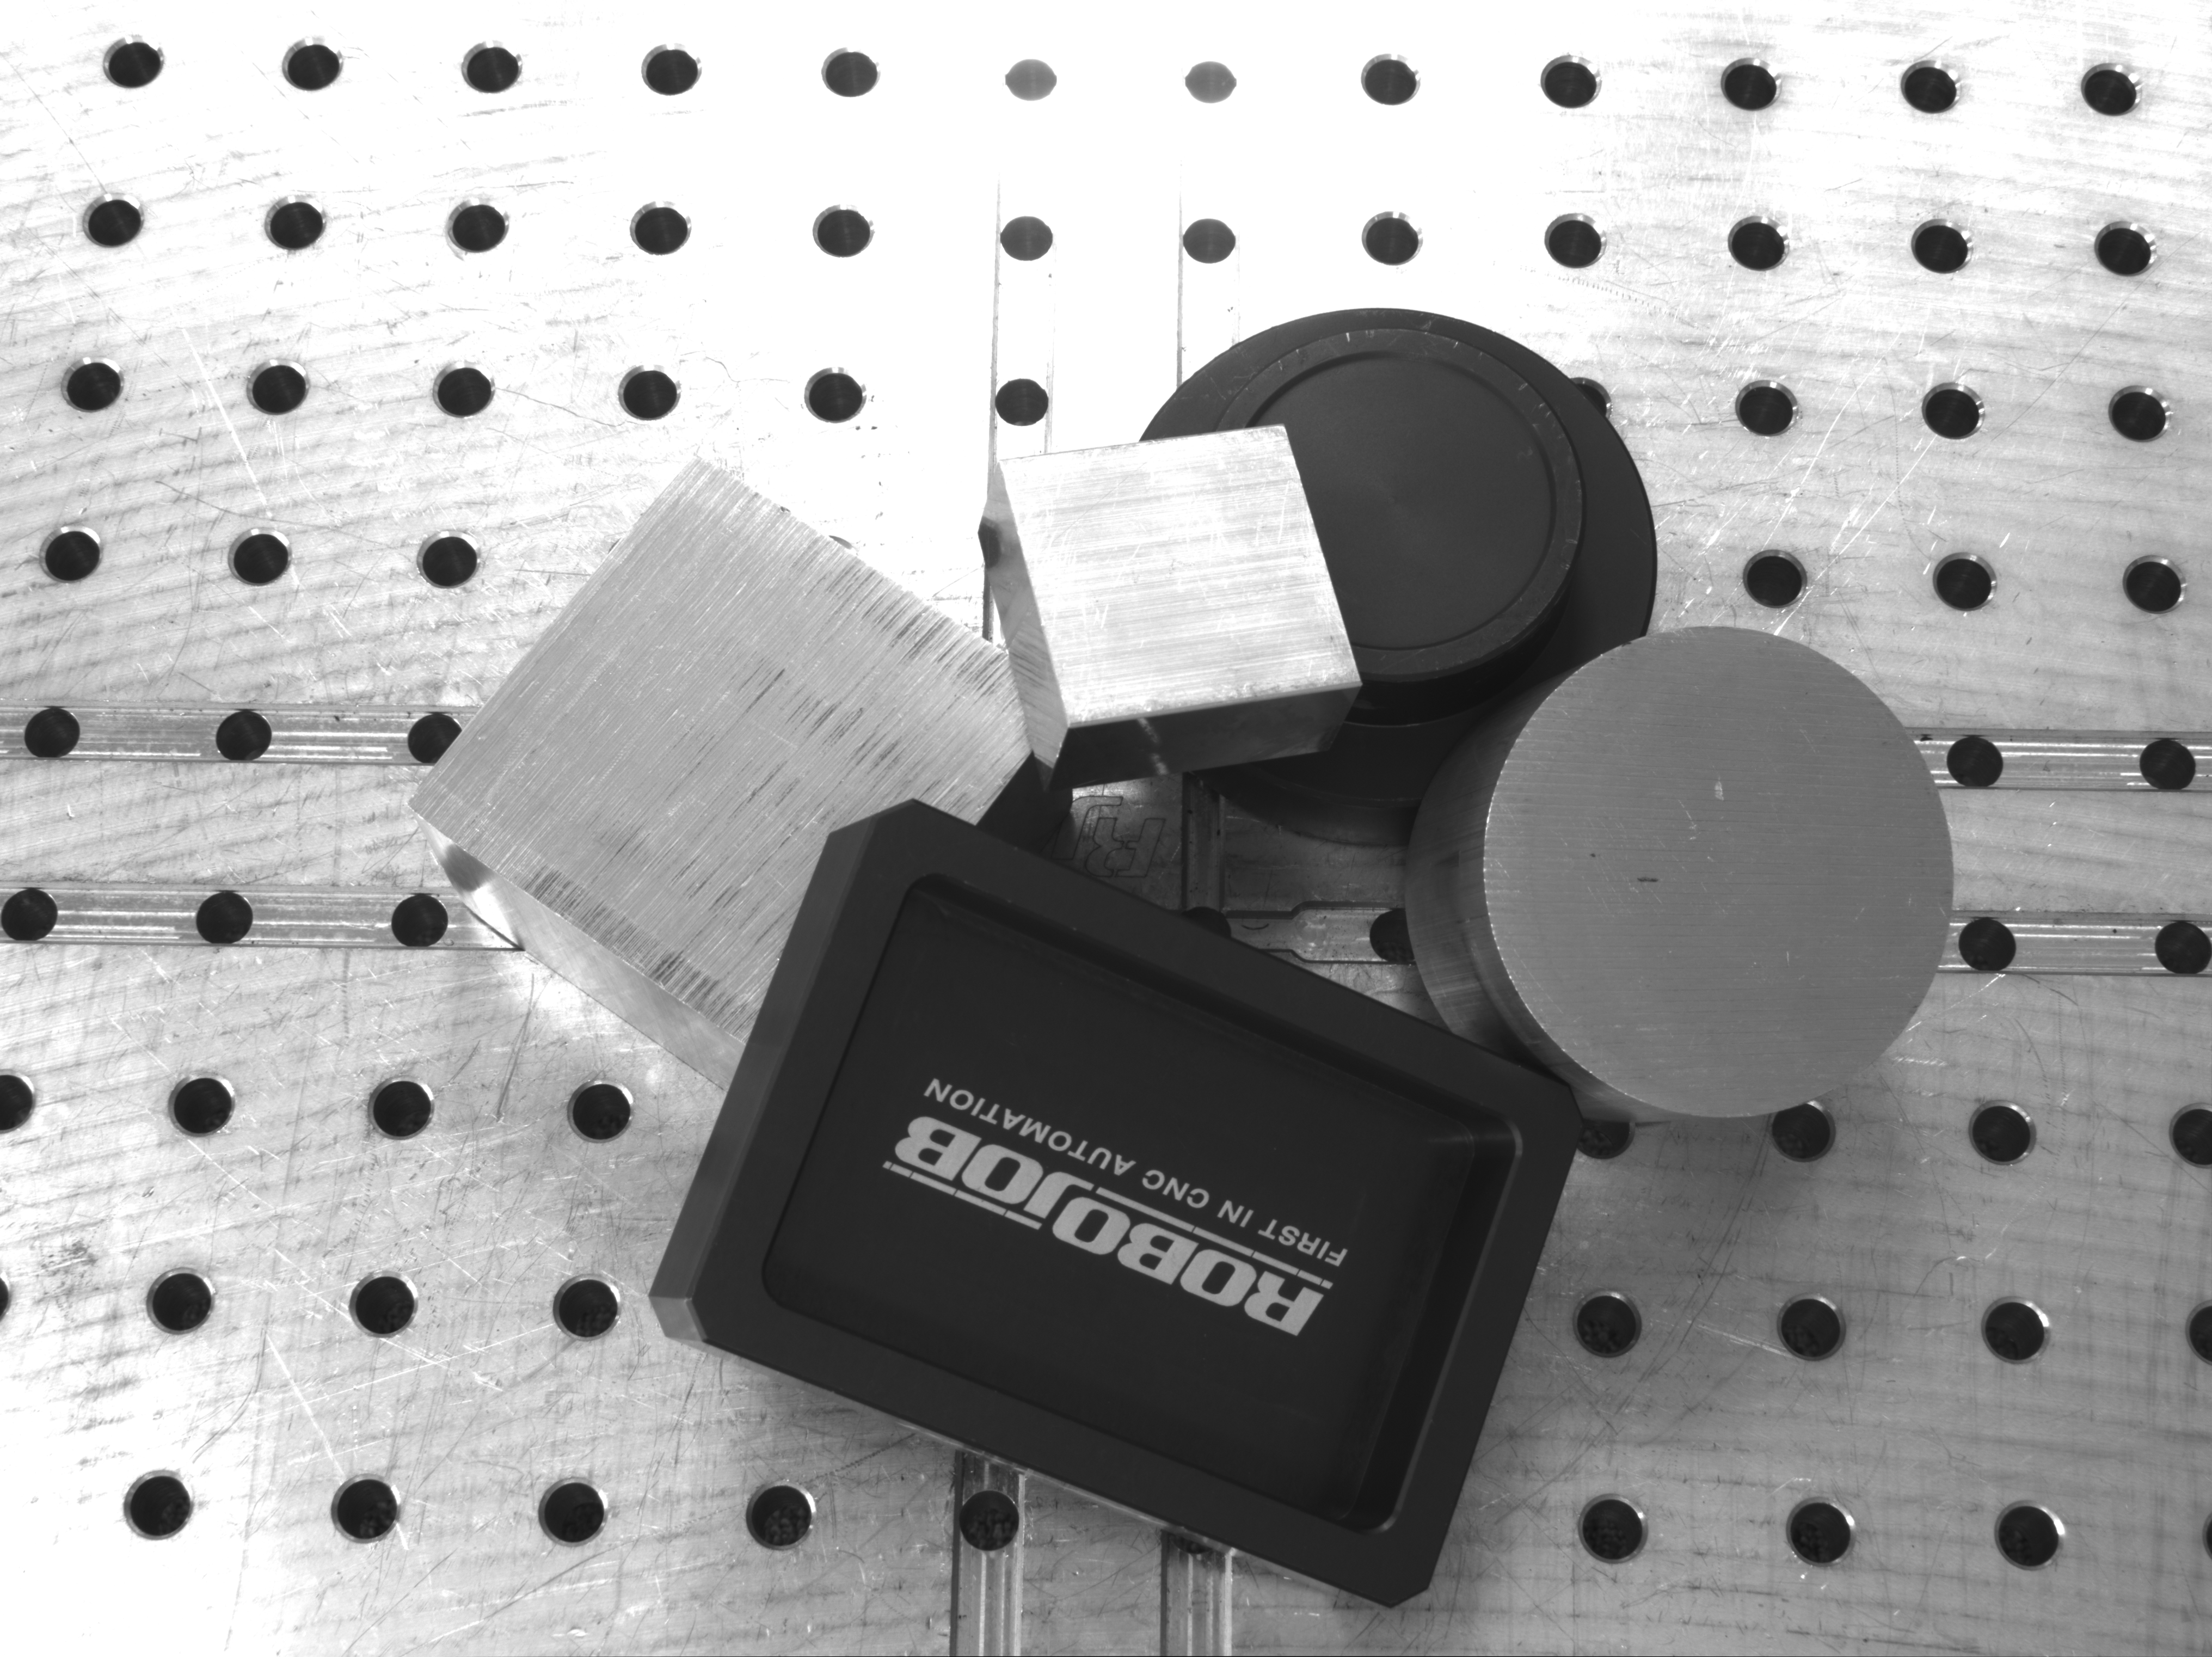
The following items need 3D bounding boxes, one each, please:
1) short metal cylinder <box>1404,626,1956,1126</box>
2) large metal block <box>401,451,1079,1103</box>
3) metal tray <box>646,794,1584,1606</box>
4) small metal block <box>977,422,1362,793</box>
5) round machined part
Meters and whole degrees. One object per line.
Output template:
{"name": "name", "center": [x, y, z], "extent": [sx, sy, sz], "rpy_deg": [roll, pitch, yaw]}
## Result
{"name": "short metal cylinder", "center": [0.095, 0.009, 0.619], "extent": [0.080, 0.050, 0.080], "rpy_deg": [1, 84, -11]}
{"name": "large metal block", "center": [-0.061, -0.004, 0.636], "extent": [0.080, 0.050, 0.080], "rpy_deg": [34, 73, 12]}
{"name": "metal tray", "center": [0.003, 0.061, 0.593], "extent": [0.130, 0.030, 0.090], "rpy_deg": [24, 77, -15]}
{"name": "small metal block", "center": [0.010, -0.037, 0.612], "extent": [0.050, 0.025, 0.050], "rpy_deg": [-8, 67, -15]}
{"name": "round machined part", "center": [0.050, -0.050, 0.657], "extent": [0.098, 0.042, 0.098], "rpy_deg": [0, 70, 0]}
